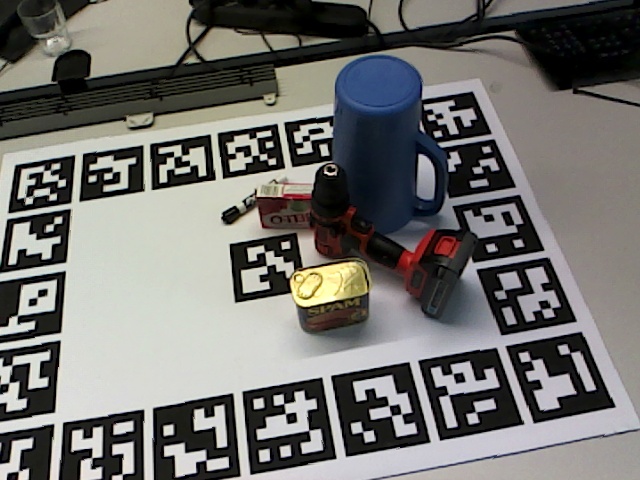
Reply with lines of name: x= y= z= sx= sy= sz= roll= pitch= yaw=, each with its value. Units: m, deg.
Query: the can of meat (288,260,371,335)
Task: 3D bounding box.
can of meat: x=0.013 y=0.078 z=0.812 sx=0.102 sy=0.083 sz=0.058 roll=-10 pitch=54 yaw=-3

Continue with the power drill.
power drill: x=0.067 y=-0.012 z=0.812 sx=0.187 sy=0.184 sz=0.057 roll=23 pitch=64 yaw=11

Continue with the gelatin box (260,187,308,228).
gelatin box: x=-0.041 y=-0.046 z=0.909 sx=0.089 sy=0.073 sz=0.030 roll=0 pitch=60 yaw=2

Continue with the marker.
marker: x=-0.102 y=-0.069 z=0.957 sx=0.121 sy=0.019 sz=0.020 roll=-33 pitch=61 yaw=-16

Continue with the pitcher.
pitcher: x=0.096 y=-0.117 z=0.852 sx=0.190 sy=0.241 sz=0.133 roll=15 pitch=62 yaw=21
